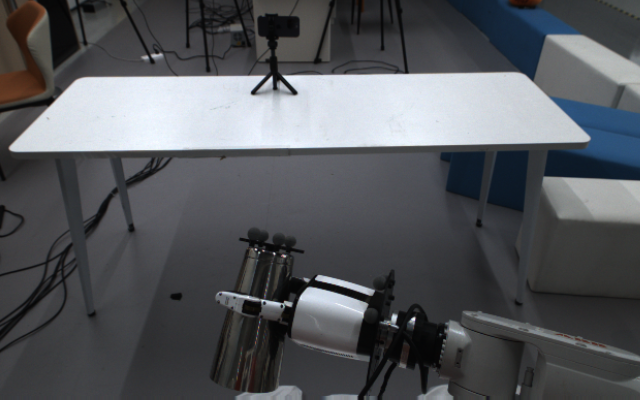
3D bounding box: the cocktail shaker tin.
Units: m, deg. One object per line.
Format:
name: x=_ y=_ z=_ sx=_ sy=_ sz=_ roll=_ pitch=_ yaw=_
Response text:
cocktail shaker tin: x=-0.081 y=0.153 z=0.638 sx=0.093 sy=0.170 sz=0.093 roll=11 pitch=-5 yaw=1
